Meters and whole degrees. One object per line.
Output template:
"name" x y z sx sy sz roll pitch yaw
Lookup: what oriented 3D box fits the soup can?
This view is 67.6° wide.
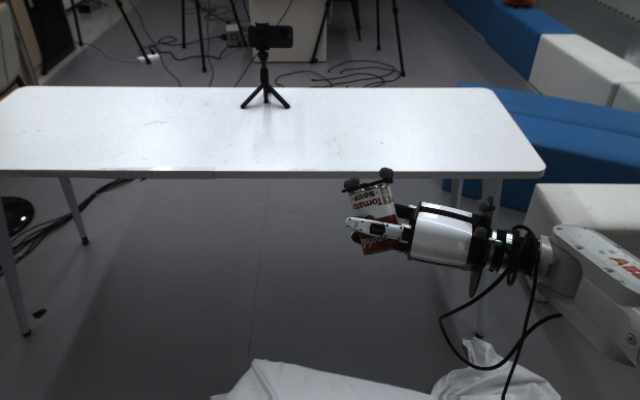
"soup can" 0.090 0.031 0.771 0.067 0.101 0.067 -14 -2 -1
